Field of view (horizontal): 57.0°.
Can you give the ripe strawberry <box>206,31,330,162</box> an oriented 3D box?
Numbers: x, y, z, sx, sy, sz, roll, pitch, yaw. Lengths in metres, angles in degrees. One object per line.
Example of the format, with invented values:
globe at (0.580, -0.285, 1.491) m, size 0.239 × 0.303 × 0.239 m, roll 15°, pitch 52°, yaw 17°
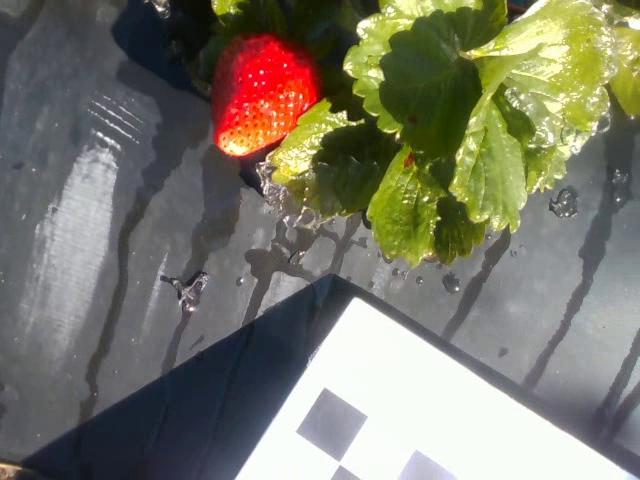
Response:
ripe strawberry at (-0.022, -0.045, 0.191) m, size 0.041 × 0.047 × 0.052 m, roll 27°, pitch 47°, yaw 5°
